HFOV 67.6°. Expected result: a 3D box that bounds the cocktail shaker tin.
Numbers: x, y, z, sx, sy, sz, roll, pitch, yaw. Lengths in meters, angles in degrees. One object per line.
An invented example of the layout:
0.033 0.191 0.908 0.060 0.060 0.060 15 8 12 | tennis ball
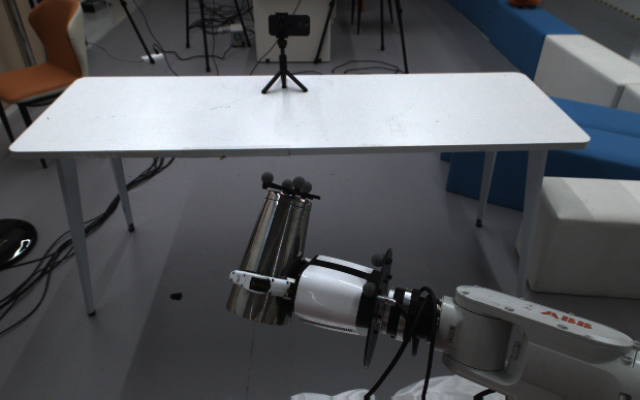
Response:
-0.064 0.078 0.676 0.093 0.170 0.093 15 -4 1 | cocktail shaker tin
